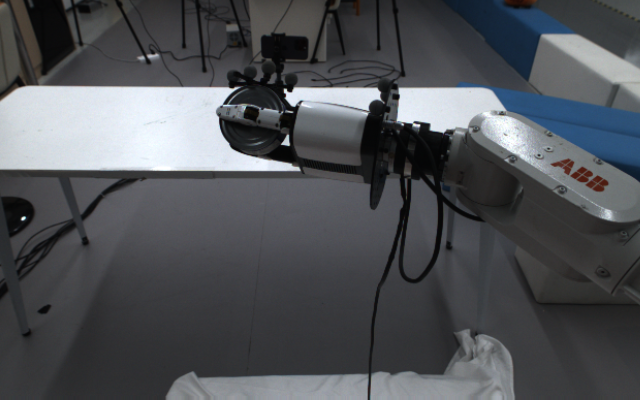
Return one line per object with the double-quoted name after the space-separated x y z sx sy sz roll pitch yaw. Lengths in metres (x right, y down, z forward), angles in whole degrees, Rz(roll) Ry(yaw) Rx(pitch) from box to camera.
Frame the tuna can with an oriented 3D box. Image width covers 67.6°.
-0.084 -0.103 0.623 0.085 0.085 0.034 12 -7 13 "tuna can"
